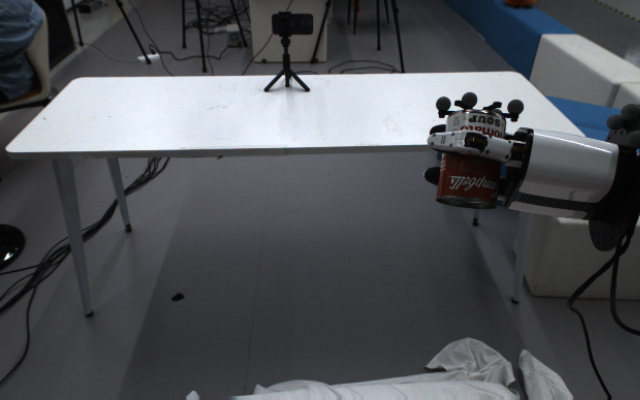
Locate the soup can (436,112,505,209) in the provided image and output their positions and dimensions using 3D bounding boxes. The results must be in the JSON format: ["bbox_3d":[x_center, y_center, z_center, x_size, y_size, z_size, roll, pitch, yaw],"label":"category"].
[{"bbox_3d":[0.175,-0.045,0.555,0.067,0.101,0.067,9,-6,1],"label":"soup can"}]
